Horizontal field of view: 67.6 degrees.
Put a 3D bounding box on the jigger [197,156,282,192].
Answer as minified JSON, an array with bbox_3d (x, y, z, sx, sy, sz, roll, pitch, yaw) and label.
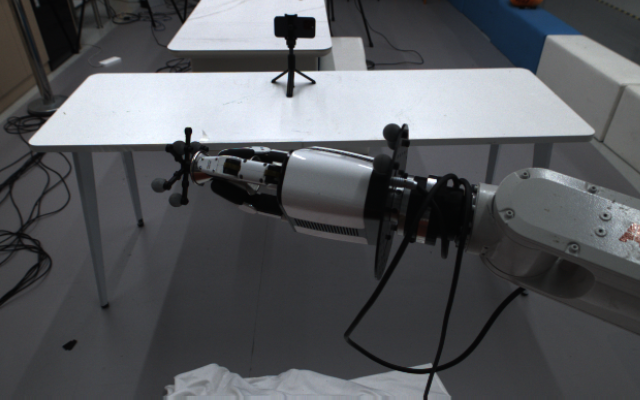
[{"bbox_3d":[-0.097,-0.035,0.535,0.071,0.043,0.043,8,35,15],"label":"jigger"}]
